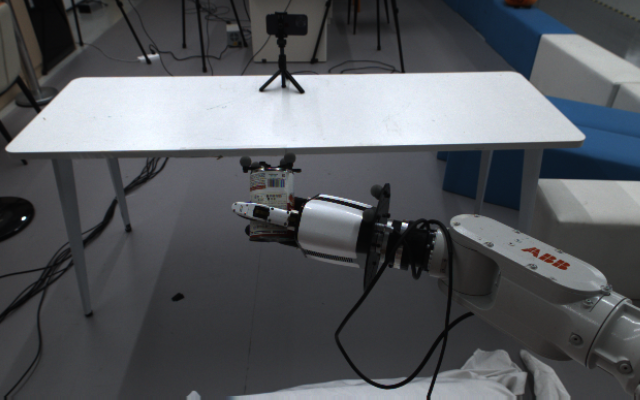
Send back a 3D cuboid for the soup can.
[{"bbox_3d":[-0.070,0.010,0.711,0.067,0.101,0.067,-1,-9,0],"label":"soup can"}]
